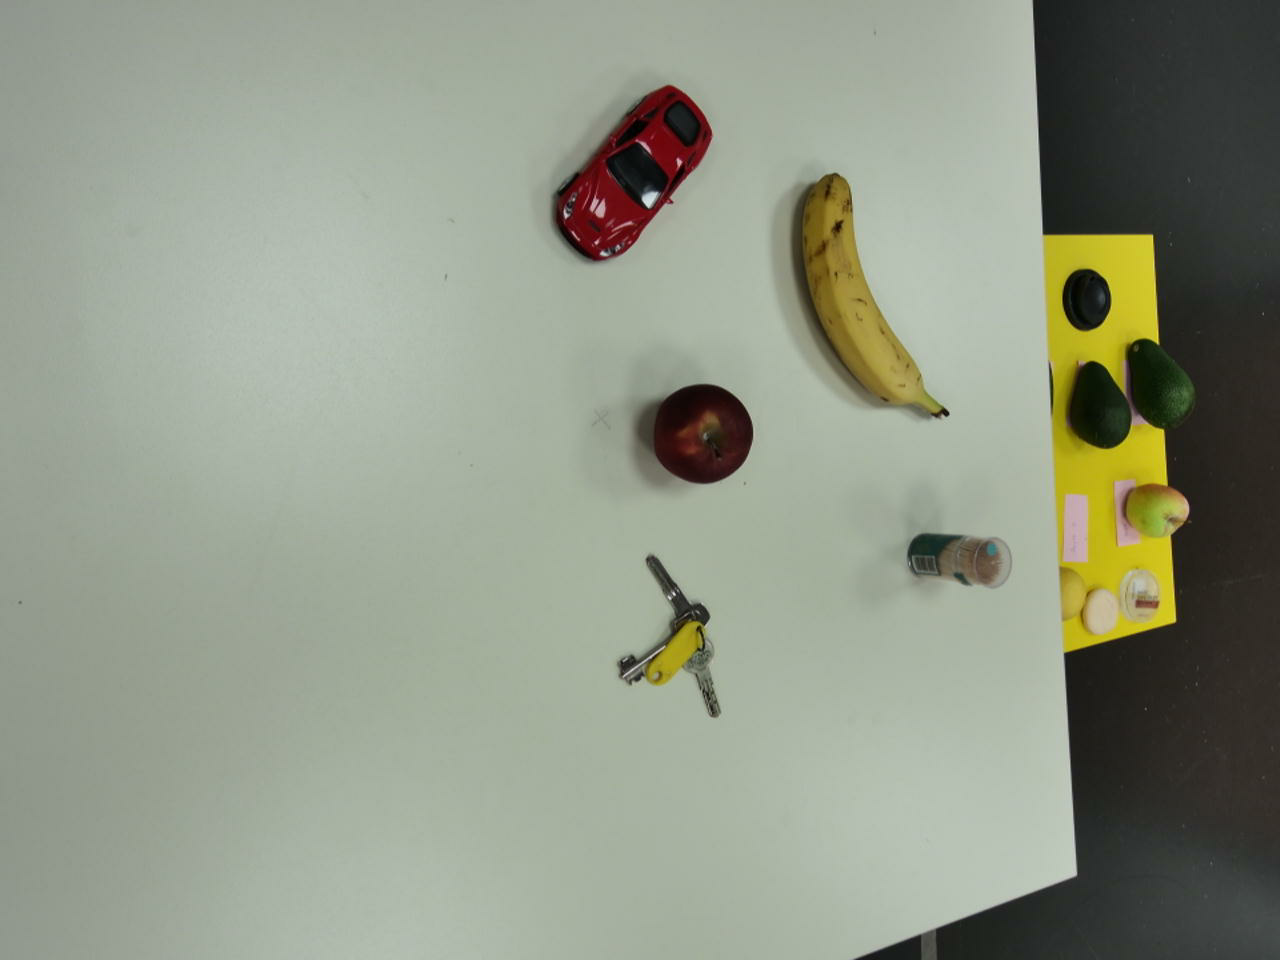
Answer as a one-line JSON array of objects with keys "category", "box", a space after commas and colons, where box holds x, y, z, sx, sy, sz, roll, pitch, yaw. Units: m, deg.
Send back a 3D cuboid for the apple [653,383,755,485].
[{"category": "apple", "box": [0.043, -0.032, 0.694, 0.070, 0.072, 0.070, 0, 91, -28]}]
